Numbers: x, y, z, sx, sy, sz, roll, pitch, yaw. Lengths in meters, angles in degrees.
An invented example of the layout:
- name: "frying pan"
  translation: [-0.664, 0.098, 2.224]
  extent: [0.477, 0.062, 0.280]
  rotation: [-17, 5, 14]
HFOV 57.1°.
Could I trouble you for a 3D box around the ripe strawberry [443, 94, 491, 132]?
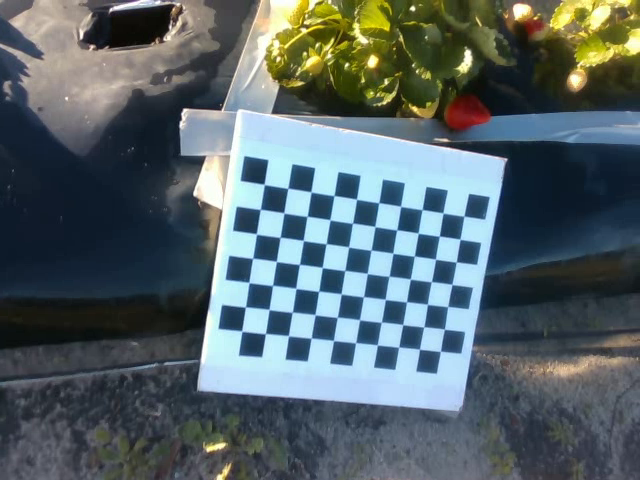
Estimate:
- name: "ripe strawberry"
  translation: [0.162, -0.134, 0.628]
  extent: [0.048, 0.045, 0.063]
  rotation: [32, 2, -43]
